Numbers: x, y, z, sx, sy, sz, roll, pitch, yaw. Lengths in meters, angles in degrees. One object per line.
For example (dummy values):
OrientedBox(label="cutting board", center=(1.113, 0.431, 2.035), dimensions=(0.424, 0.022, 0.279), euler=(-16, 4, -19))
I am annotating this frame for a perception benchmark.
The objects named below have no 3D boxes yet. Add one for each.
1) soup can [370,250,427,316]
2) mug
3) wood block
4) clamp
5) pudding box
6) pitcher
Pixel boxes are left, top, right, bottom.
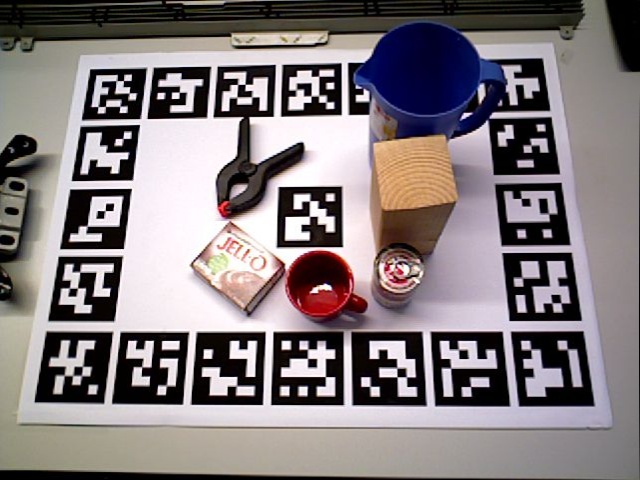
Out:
OrientedBox(label="soup can", center=(0.102, 0.060, 0.727), dimensions=(0.068, 0.103, 0.067), euler=(-1, 73, 3))
OrientedBox(label="mug", center=(0.010, 0.082, 0.737), dimensions=(0.117, 0.082, 0.092), euler=(35, 74, 15))
OrientedBox(label="wood block", center=(0.119, -0.043, 0.704), dimensions=(0.089, 0.209, 0.090), euler=(-1, 70, -2))
OrientedBox(label="clamp", center=(-0.105, -0.104, 0.838), dimensions=(0.121, 0.037, 0.163), euler=(30, 76, 5))
OrientedBox(label="pudding box", center=(-0.130, 0.045, 0.785), dimensions=(0.114, 0.039, 0.089), euler=(37, 80, 15))
OrientedBox(label="pitcher", center=(0.146, -0.162, 0.725), dimensions=(0.188, 0.245, 0.132), euler=(-1, 68, 5))
